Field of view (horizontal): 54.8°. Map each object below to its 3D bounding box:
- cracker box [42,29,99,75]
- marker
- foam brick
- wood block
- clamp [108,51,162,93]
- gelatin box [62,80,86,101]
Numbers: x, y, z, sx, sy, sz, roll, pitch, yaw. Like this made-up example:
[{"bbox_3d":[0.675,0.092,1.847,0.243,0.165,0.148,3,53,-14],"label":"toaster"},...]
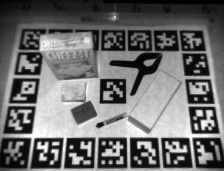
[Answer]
[{"bbox_3d":[-0.131,-0.108,0.754,0.164,0.214,0.072,-4,70,-2],"label":"cracker box"},{"bbox_3d":[-0.012,0.124,0.786,0.121,0.020,0.019,-20,74,-6],"label":"marker"},{"bbox_3d":[-0.102,0.091,0.780,0.078,0.051,0.052,-24,75,-7],"label":"foam brick"},{"bbox_3d":[0.149,0.050,0.778,0.089,0.091,0.207,33,72,13],"label":"wood block"},{"bbox_3d":[0.111,-0.085,0.846,0.203,0.037,0.164,-30,75,-9],"label":"clamp"},{"bbox_3d":[-0.143,0.018,0.817,0.089,0.030,0.073,-2,74,-1],"label":"gelatin box"}]
